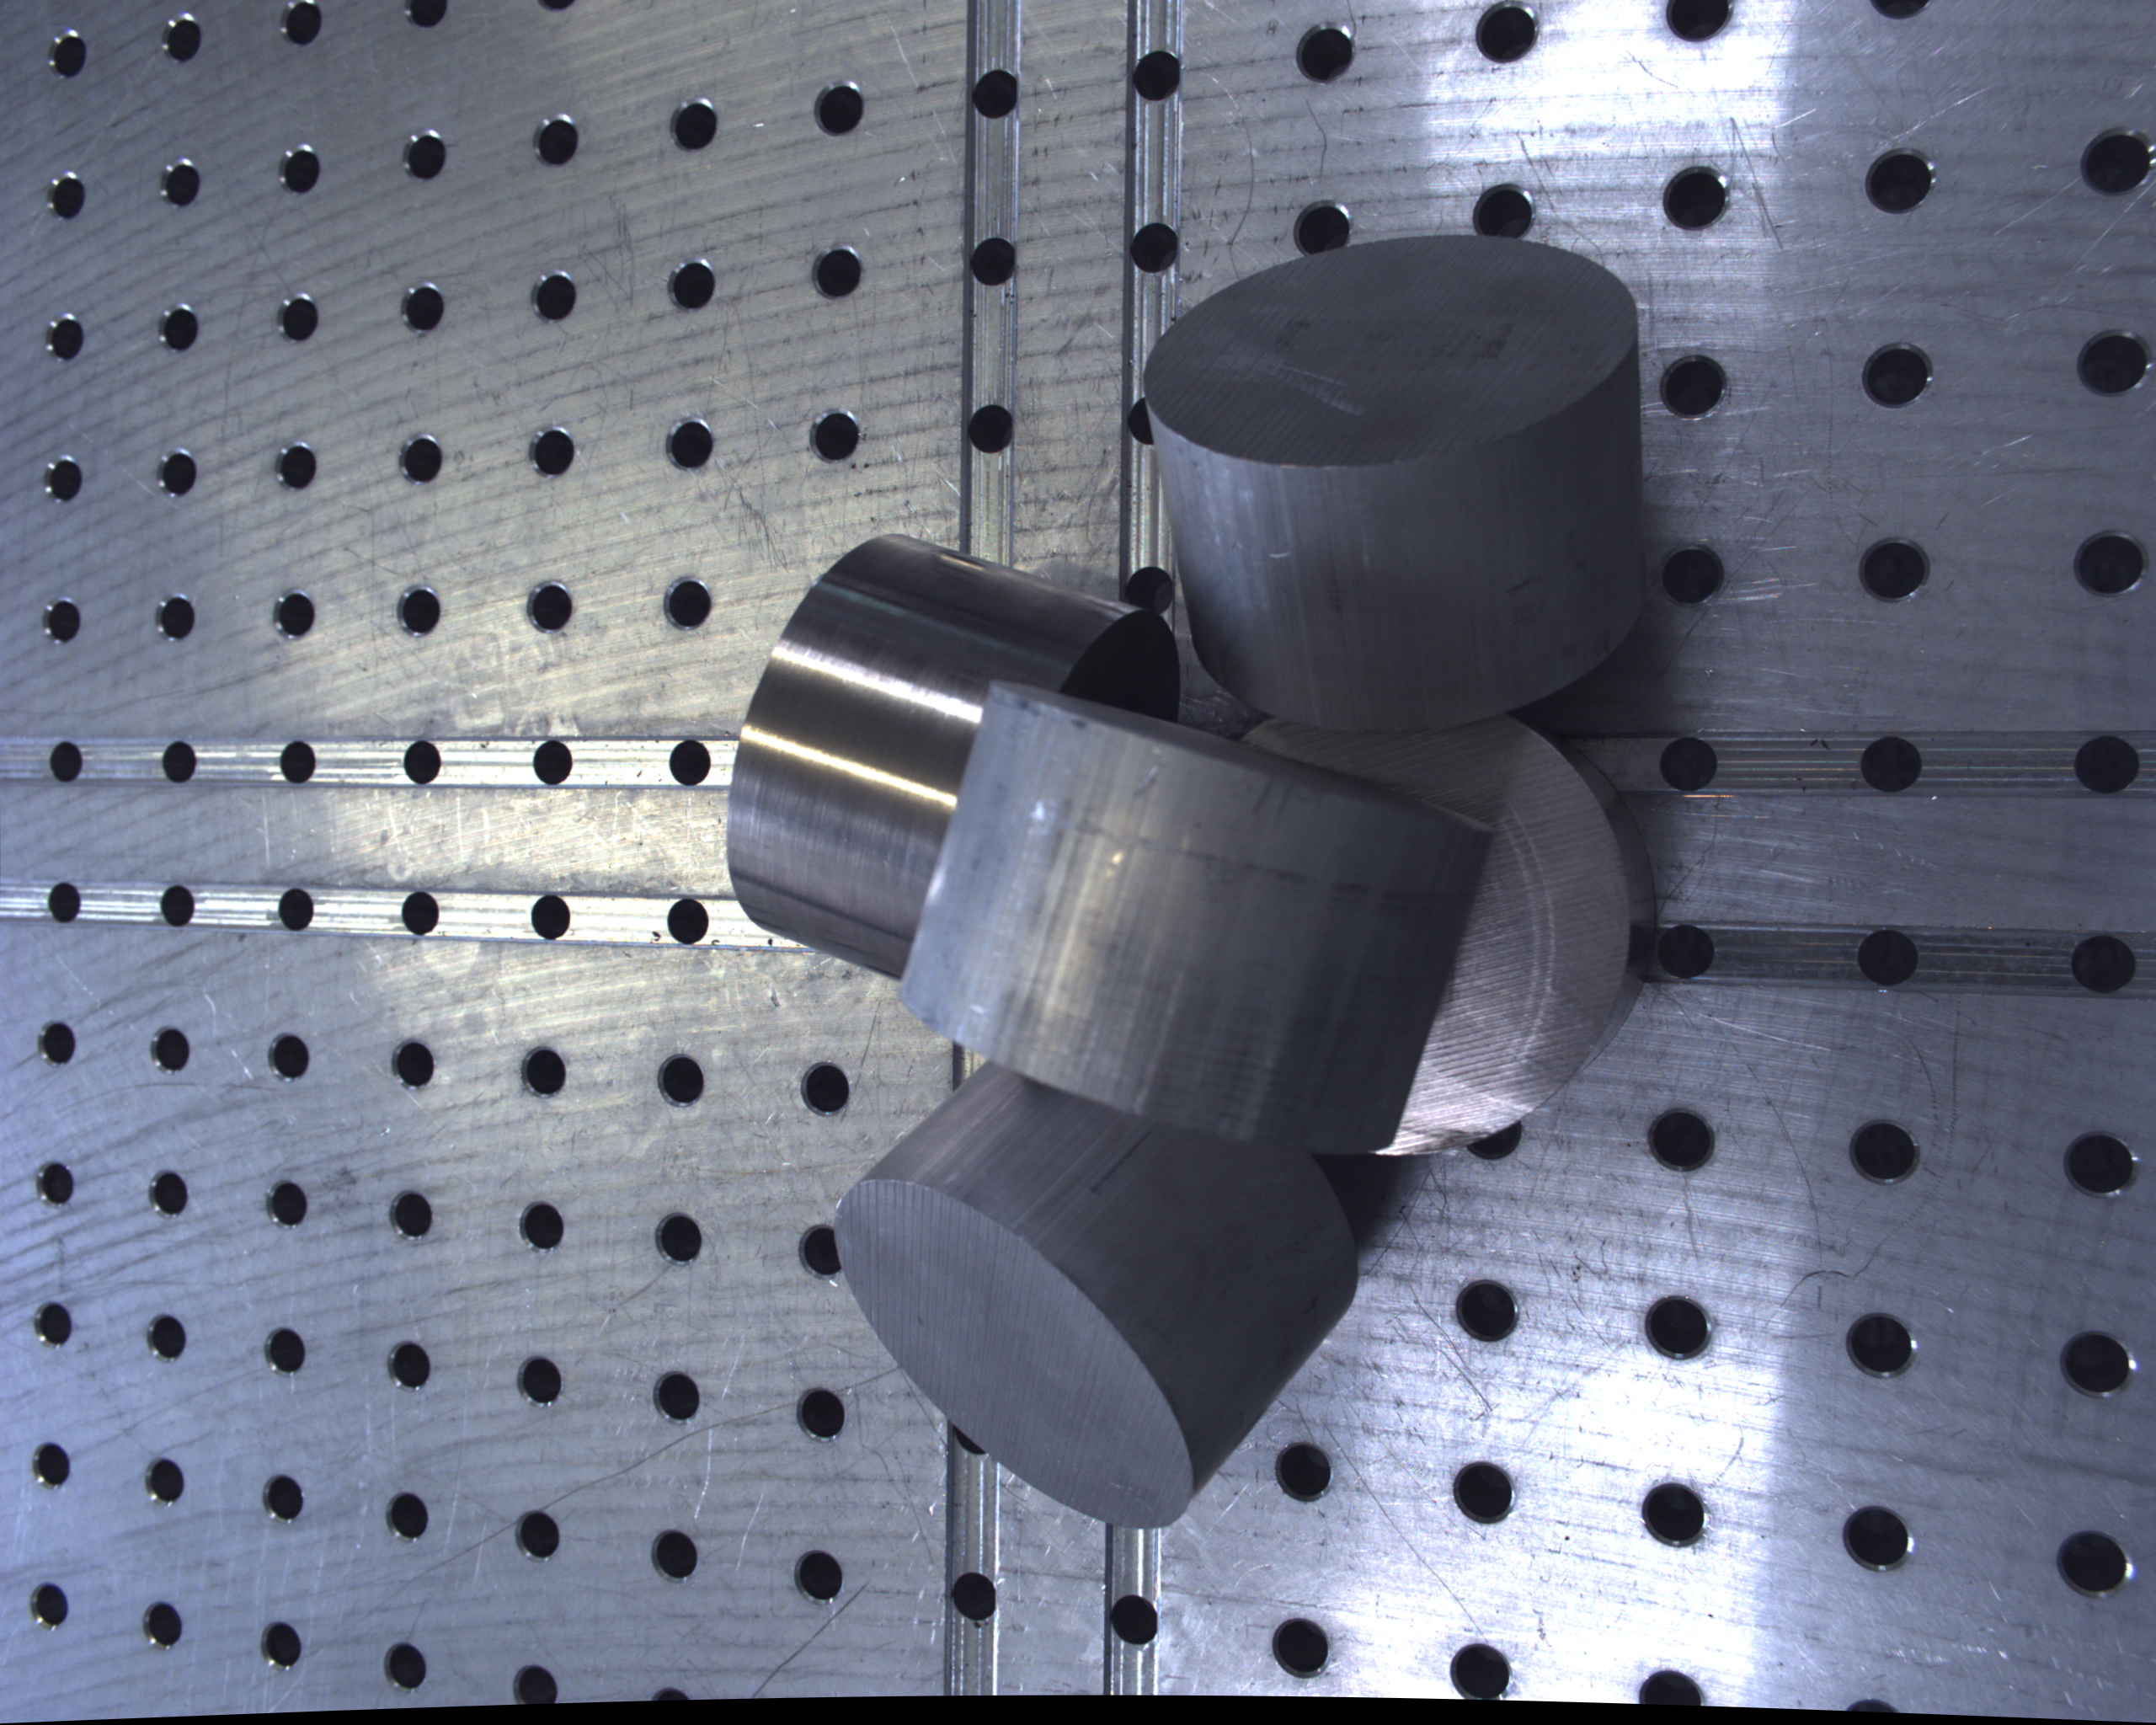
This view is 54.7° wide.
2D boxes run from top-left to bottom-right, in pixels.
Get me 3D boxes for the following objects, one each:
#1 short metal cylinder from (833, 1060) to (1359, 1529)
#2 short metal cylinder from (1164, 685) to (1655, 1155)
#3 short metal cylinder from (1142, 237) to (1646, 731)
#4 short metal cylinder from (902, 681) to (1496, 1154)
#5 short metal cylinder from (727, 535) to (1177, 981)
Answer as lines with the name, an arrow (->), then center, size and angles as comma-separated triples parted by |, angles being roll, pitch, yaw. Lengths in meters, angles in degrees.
short metal cylinder -> 0.003, 0.072, 0.376 | 0.080, 0.050, 0.080 | 29, 142, 26
short metal cylinder -> 0.061, 0.010, 0.377 | 0.080, 0.050, 0.080 | 0, 89, 20
short metal cylinder -> 0.055, -0.066, 0.356 | 0.080, 0.080, 0.050 | 2, 131, 20
short metal cylinder -> 0.018, 0.007, 0.323 | 0.080, 0.080, 0.050 | 19, 96, 19
short metal cylinder -> -0.022, -0.016, 0.391 | 0.050, 0.080, 0.080 | 20, 97, 19
